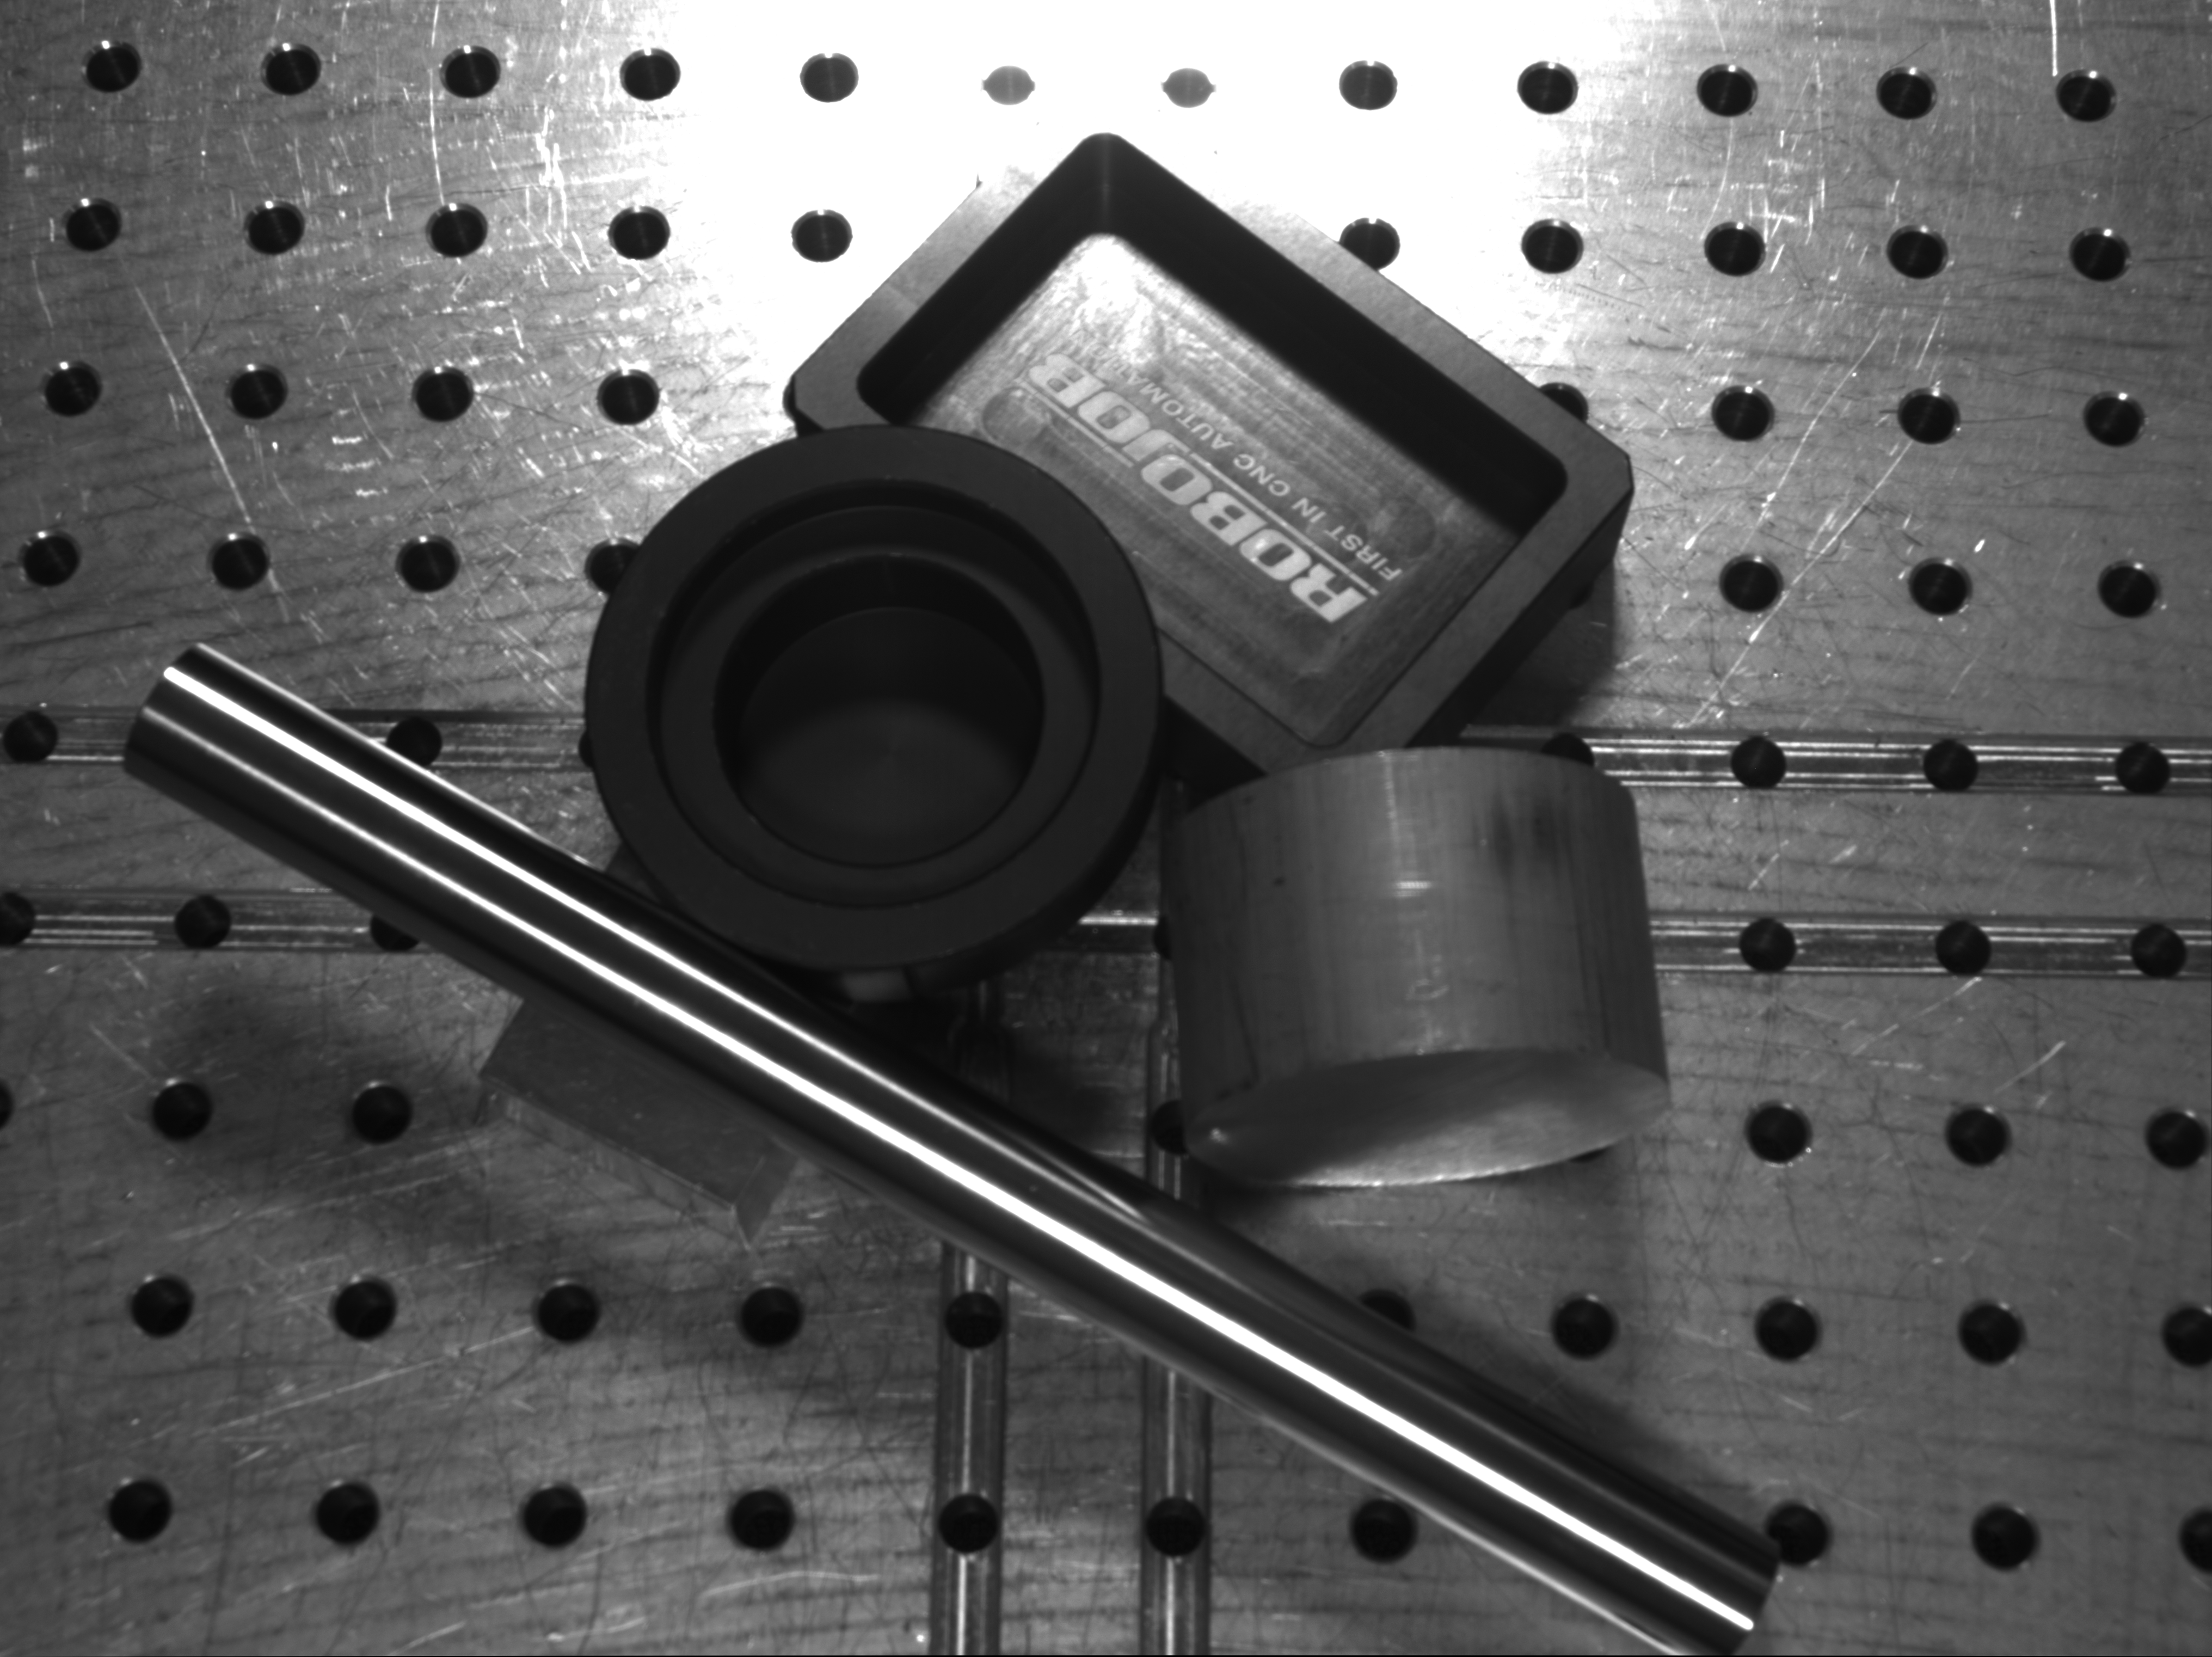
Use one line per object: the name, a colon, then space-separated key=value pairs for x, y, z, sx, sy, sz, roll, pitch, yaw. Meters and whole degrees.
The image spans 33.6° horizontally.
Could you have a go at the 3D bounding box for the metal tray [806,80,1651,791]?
metal tray: x=0.021 y=-0.066 z=0.668 sx=0.130 sy=0.030 sz=0.090 roll=38 pitch=74 yaw=13

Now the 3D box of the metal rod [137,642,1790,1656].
metal rod: x=-0.024 y=0.054 z=0.606 sx=0.300 sy=0.025 sz=0.025 roll=30 pitch=72 yaw=1

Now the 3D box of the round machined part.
round machined part: x=-0.036 y=-0.017 z=0.636 sx=0.098 sy=0.042 sz=0.098 roll=-1 pitch=70 yaw=2

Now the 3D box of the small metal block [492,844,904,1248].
small metal block: x=-0.070 y=0.037 z=0.634 sx=0.050 sy=0.025 sz=0.050 roll=27 pitch=72 yaw=9

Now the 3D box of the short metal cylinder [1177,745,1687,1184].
short metal cylinder: x=0.053 y=0.024 z=0.608 sx=0.080 sy=0.080 sz=0.050 roll=-4 pitch=70 yaw=-1
